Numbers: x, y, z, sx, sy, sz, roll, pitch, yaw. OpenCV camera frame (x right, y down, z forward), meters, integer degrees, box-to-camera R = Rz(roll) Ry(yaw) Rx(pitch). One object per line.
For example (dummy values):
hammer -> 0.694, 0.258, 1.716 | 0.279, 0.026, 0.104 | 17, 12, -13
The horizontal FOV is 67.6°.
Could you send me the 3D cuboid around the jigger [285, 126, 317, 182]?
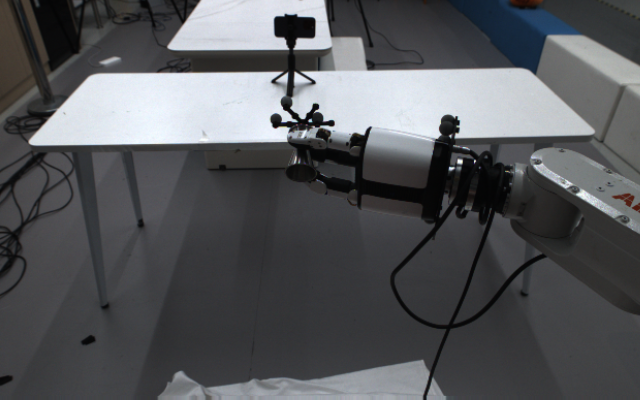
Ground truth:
jigger -> -0.025, -0.067, 0.657 | 0.043, 0.043, 0.071 | 2, 59, -1
